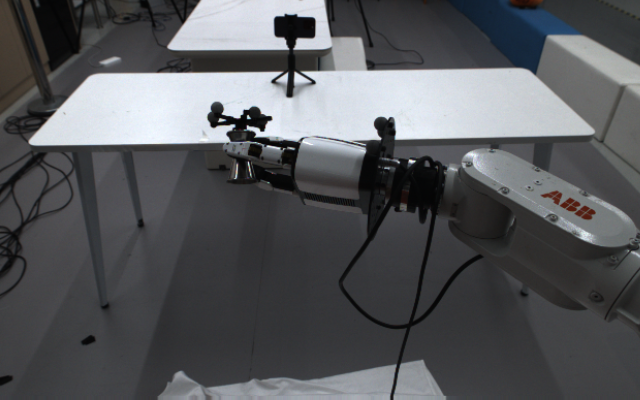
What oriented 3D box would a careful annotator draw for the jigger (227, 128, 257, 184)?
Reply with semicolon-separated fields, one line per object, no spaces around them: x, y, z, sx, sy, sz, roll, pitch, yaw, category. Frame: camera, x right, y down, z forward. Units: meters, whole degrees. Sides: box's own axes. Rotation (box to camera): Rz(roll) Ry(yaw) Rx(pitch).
-0.107;-0.058;0.660;0.043;0.071;0.043;-2;-7;0;jigger
